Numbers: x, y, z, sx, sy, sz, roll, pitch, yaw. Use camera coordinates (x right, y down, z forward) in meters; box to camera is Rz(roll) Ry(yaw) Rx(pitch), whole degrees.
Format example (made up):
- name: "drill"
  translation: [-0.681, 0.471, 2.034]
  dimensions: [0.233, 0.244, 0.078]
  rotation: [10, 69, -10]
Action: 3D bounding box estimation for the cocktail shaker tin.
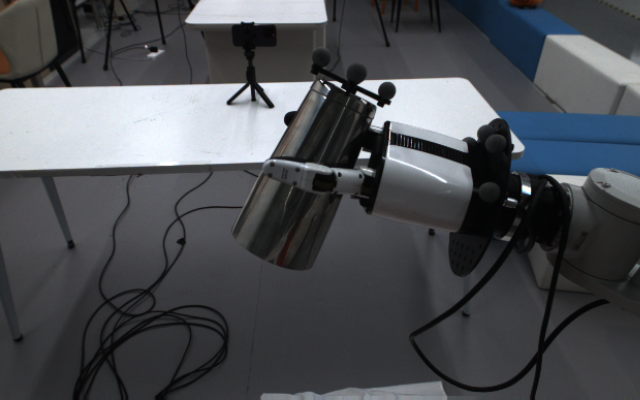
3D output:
- name: "cocktail shaker tin"
  translation: [-0.009, -0.029, 0.478]
  dimensions: [0.093, 0.170, 0.093]
  rotation: [24, 12, -6]
